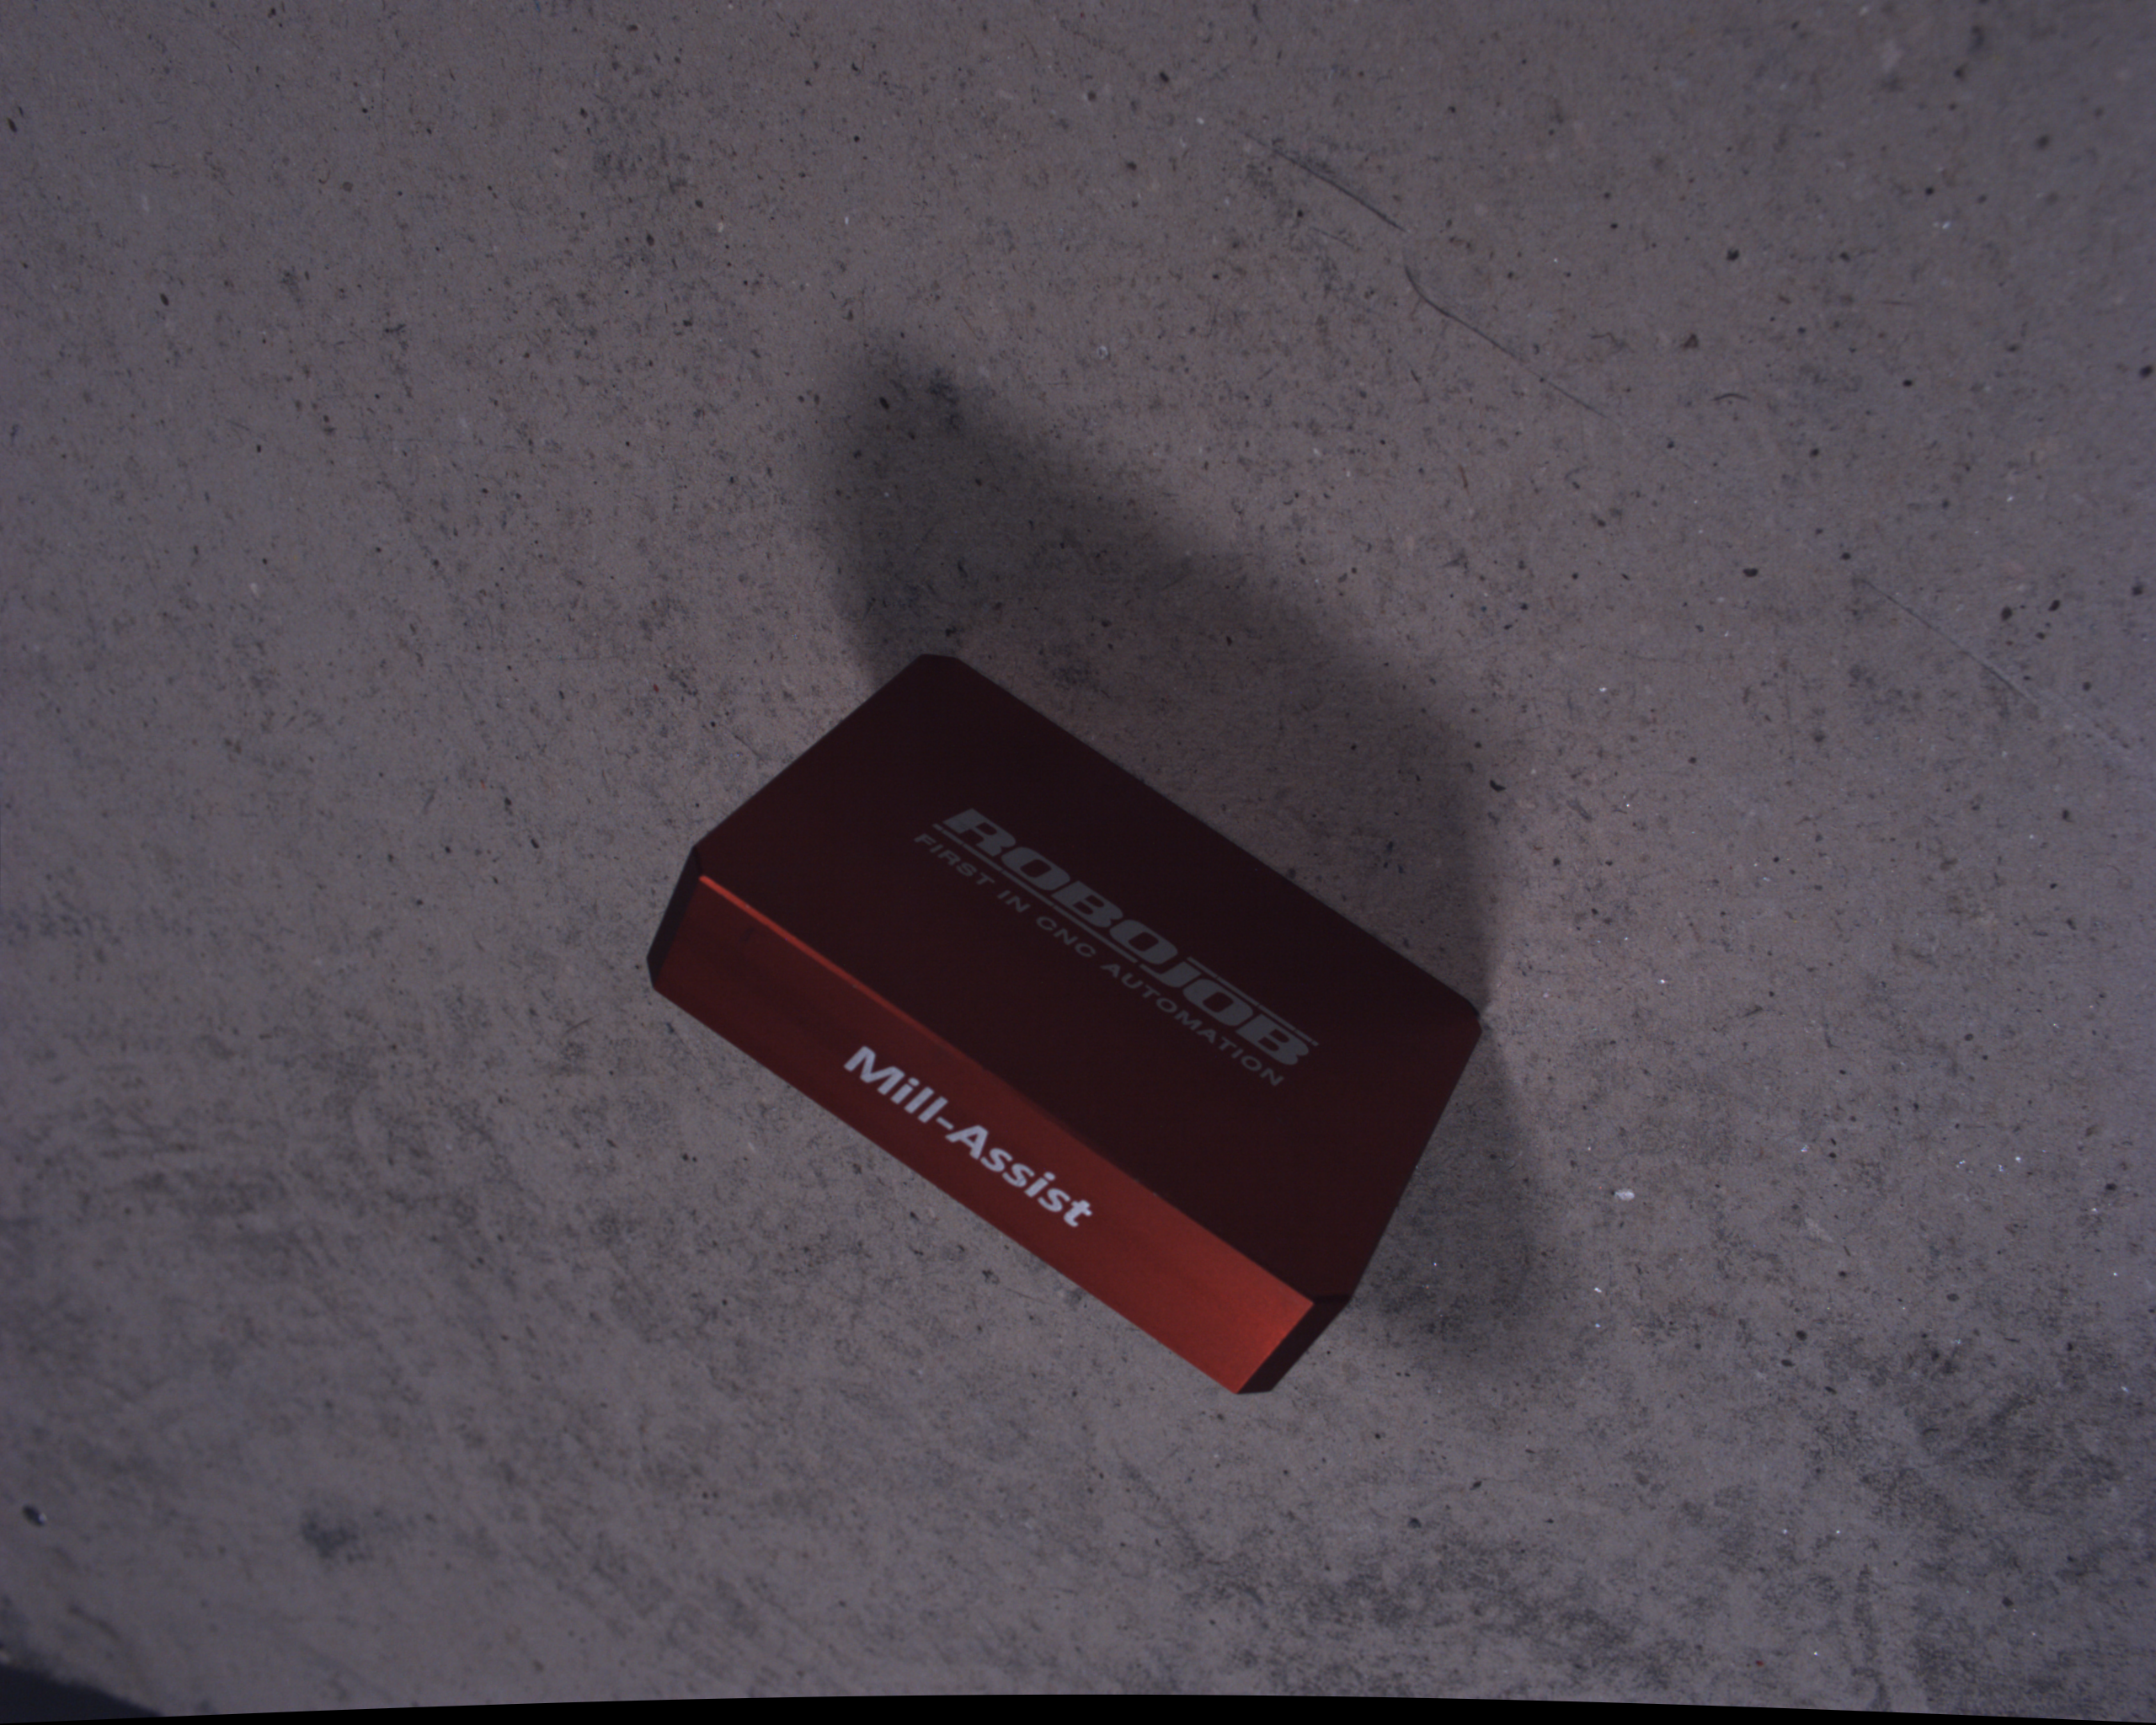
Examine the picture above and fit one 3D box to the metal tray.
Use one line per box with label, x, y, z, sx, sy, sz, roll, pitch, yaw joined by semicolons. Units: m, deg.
metal tray;0.001;0.024;0.380;0.130;0.090;0.030;34;129;5
